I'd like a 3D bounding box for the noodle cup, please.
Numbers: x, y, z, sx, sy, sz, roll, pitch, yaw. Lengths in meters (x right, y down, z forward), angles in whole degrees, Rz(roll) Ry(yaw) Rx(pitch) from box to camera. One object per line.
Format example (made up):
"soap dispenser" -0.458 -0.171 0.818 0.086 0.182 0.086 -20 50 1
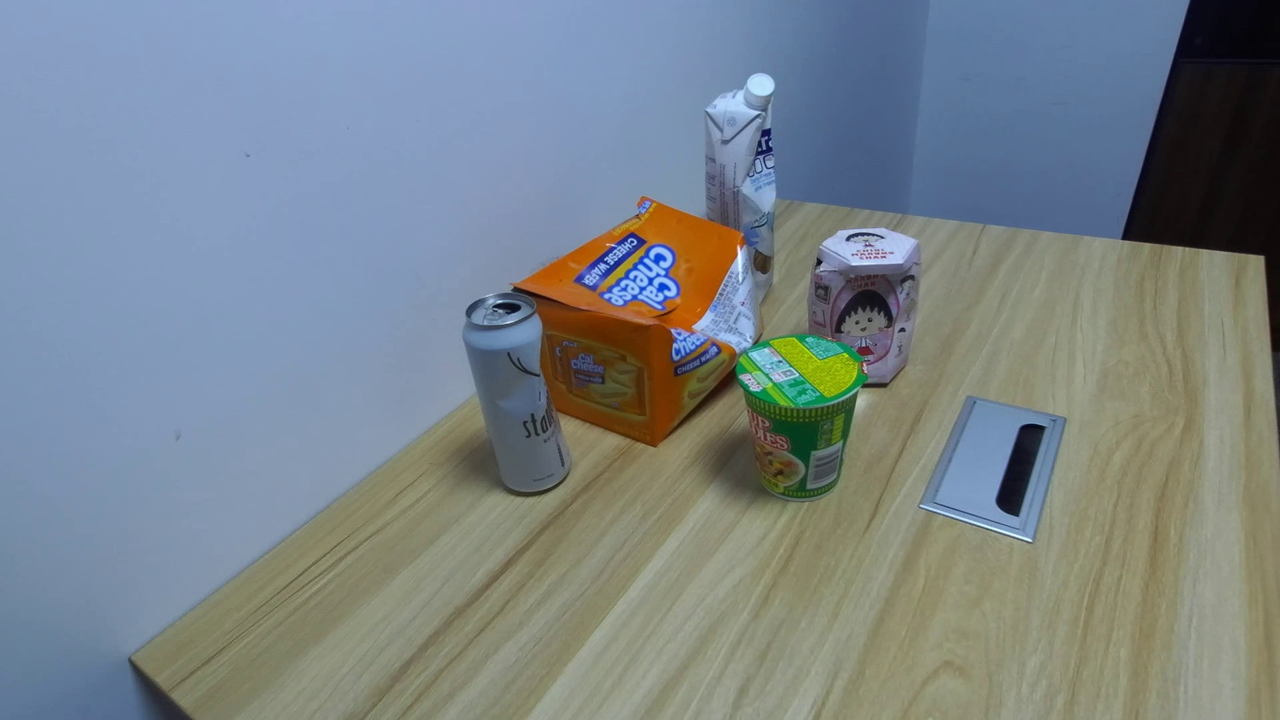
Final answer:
"noodle cup" 0.128 0.051 0.564 0.097 0.110 0.097 -6 33 4

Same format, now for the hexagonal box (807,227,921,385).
"hexagonal box" 0.214 -0.051 0.686 0.090 0.135 0.090 23 41 39

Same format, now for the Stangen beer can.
"Stangen beer can" -0.099 0.029 0.592 0.069 0.173 0.070 14 38 32

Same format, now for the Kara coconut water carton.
"Kara coconut water carton" 0.115 -0.187 0.800 0.078 0.256 0.083 19 41 33

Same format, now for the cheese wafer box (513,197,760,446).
"cheese wafer box" 0.021 -0.047 0.706 0.190 0.145 0.219 16 40 31
